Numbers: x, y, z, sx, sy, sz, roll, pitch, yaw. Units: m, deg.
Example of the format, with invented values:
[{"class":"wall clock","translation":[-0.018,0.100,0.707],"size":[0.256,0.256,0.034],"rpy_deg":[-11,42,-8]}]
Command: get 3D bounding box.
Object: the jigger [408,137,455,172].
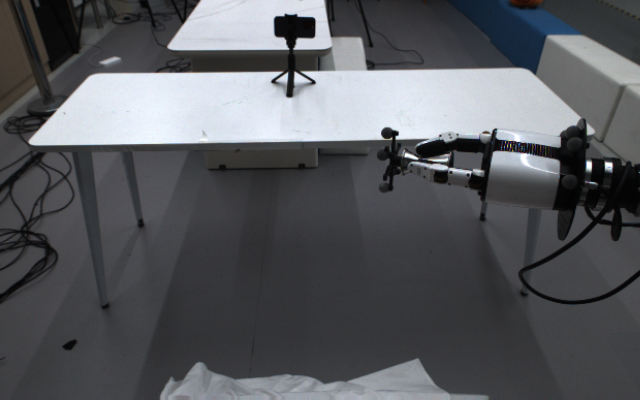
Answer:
[{"class":"jigger","translation":[0.160,-0.055,0.694],"size":[0.071,0.043,0.043],"rpy_deg":[7,34,21]}]
